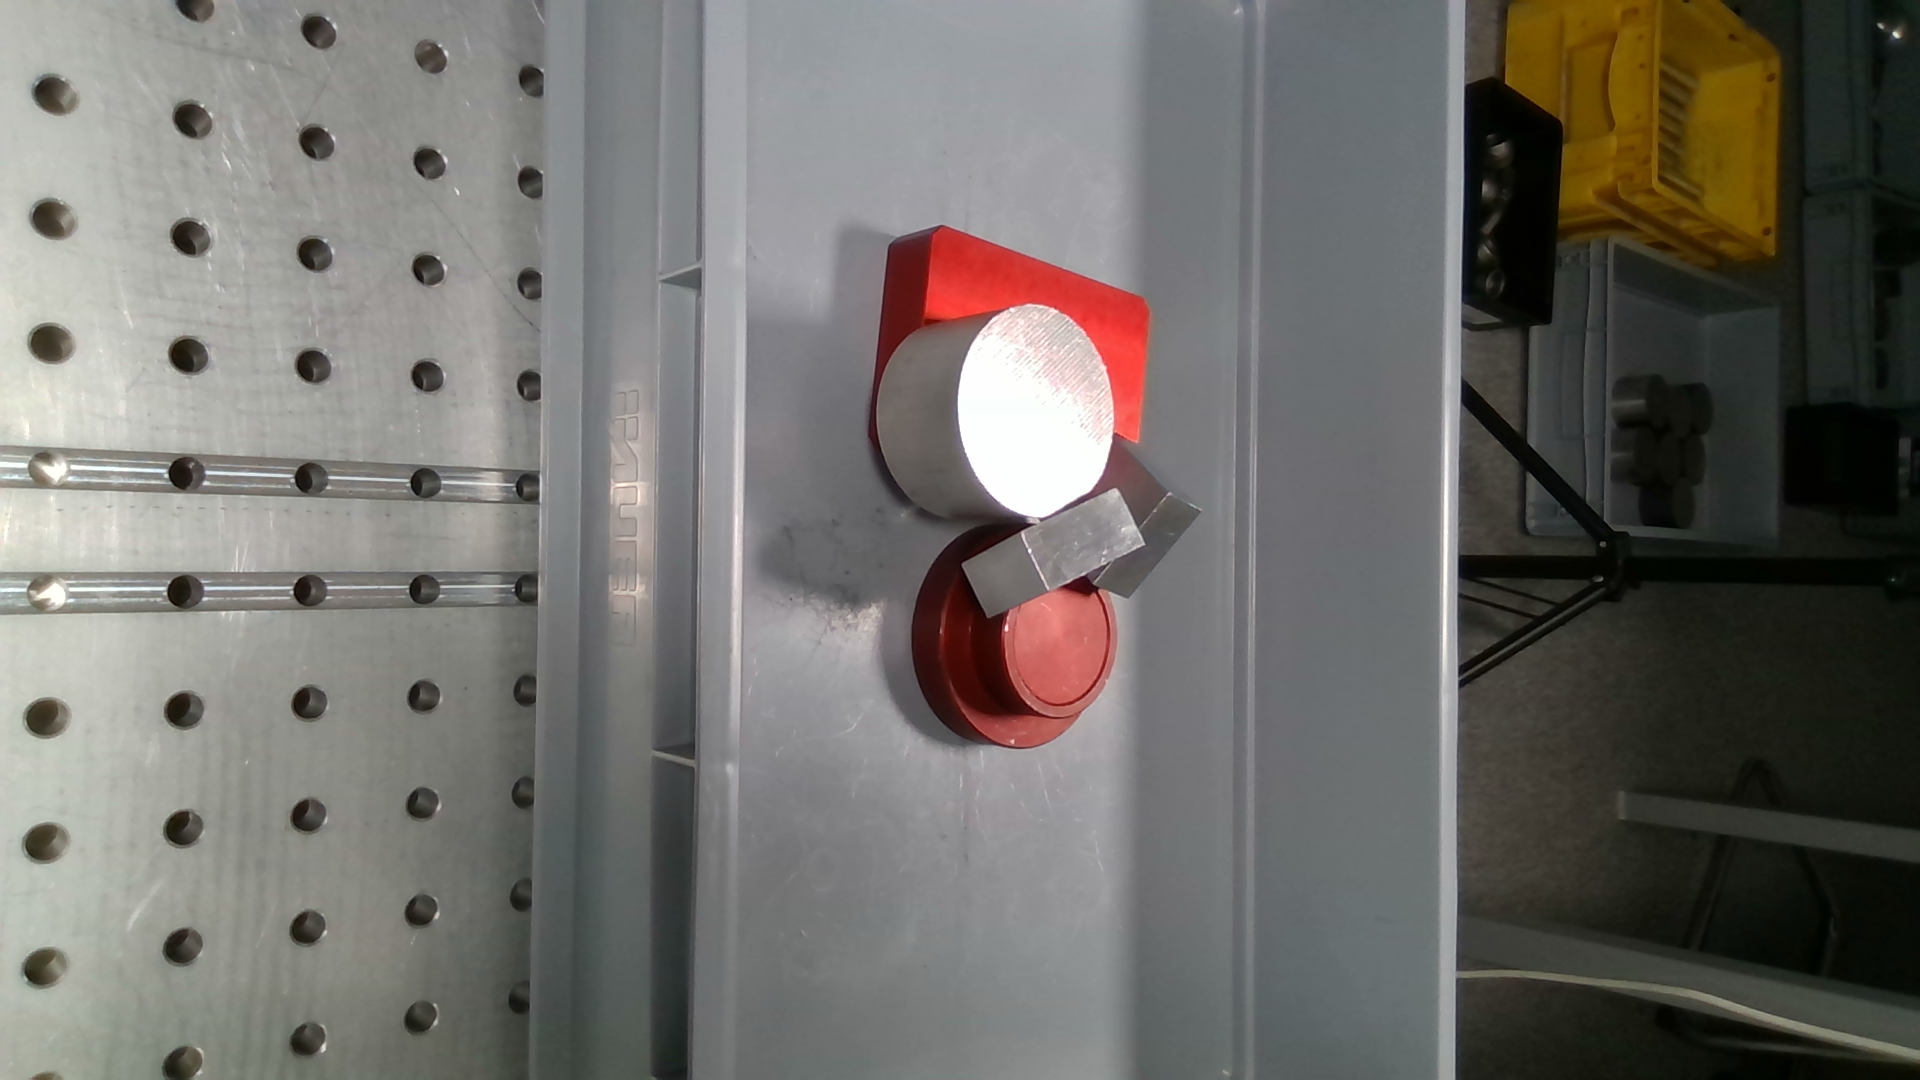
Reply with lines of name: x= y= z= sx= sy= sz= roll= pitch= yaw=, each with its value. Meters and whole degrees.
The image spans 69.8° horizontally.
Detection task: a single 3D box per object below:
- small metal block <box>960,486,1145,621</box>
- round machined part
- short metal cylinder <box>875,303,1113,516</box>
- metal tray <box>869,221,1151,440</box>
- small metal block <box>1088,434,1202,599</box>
small metal block: x=0.036 y=0.006 z=0.545 sx=0.050 sy=0.050 sz=0.025 roll=-25 pitch=87 yaw=-31
round machined part: x=0.030 y=0.042 z=0.595 sx=0.098 sy=0.042 sz=0.098 roll=0 pitch=90 yaw=-40
short metal cylinder: x=0.014 y=-0.049 z=0.538 sx=0.080 sy=0.050 sz=0.080 roll=0 pitch=90 yaw=-40
metal tray: x=0.025 y=-0.075 z=0.597 sx=0.130 sy=0.030 sz=0.090 roll=10 pitch=84 yaw=-40
small metal block: x=0.066 y=-0.012 z=0.588 sx=0.025 sy=0.050 sz=0.050 roll=21 pitch=113 yaw=-44
